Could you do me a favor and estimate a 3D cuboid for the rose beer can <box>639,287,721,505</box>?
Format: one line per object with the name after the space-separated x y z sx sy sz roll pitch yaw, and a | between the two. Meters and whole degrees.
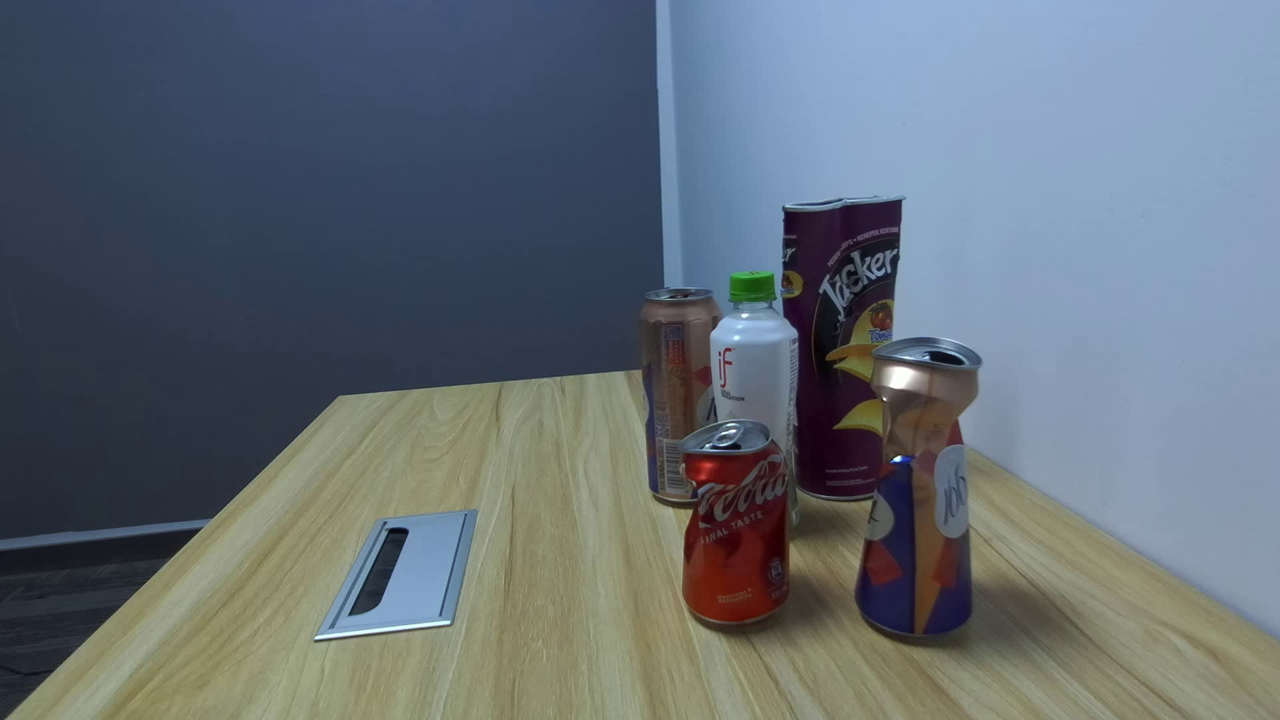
0.037 0.030 0.574 0.068 0.169 0.068 -4 12 1 | rose beer can

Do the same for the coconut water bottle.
0.082 0.033 0.502 0.063 0.188 0.063 -3 12 1 | coconut water bottle

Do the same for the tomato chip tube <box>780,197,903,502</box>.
0.160 -0.009 0.562 0.090 0.236 0.078 3 17 16 | tomato chip tube

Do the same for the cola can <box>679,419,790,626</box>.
0.056 0.095 0.422 0.069 0.112 0.065 -10 15 -21 | cola can

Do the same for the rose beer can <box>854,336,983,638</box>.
0.154 0.072 0.395 0.068 0.162 0.073 -5 17 -3 | rose beer can
